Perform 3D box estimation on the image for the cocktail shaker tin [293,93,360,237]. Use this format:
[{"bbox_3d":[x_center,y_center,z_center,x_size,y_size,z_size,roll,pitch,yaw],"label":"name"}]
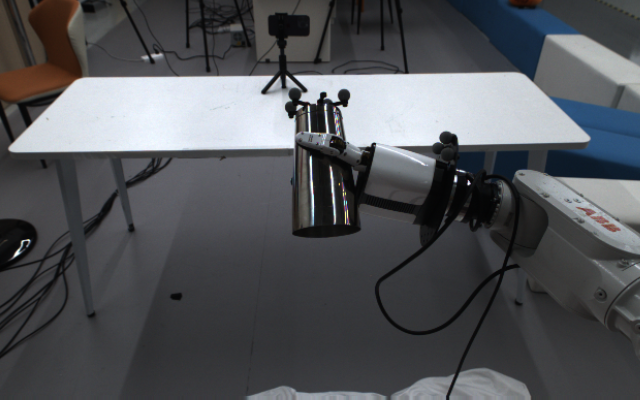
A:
[{"bbox_3d":[0.004,-0.040,0.661,0.093,0.093,0.170,-3,77,-8],"label":"cocktail shaker tin"}]
